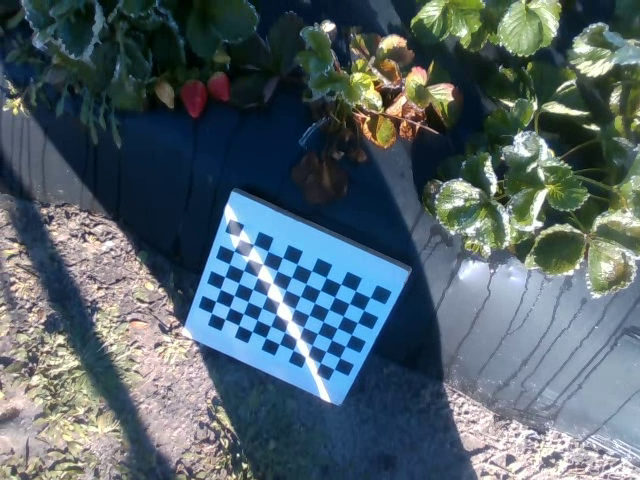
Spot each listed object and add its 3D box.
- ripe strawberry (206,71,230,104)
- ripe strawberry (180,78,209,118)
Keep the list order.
[{"bbox_3d":[-0.129,-0.199,0.816,0.036,0.041,0.030,-37,5,23],"label":"ripe strawberry"},{"bbox_3d":[-0.163,-0.179,0.812,0.036,0.052,0.039,-12,-19,16],"label":"ripe strawberry"}]
